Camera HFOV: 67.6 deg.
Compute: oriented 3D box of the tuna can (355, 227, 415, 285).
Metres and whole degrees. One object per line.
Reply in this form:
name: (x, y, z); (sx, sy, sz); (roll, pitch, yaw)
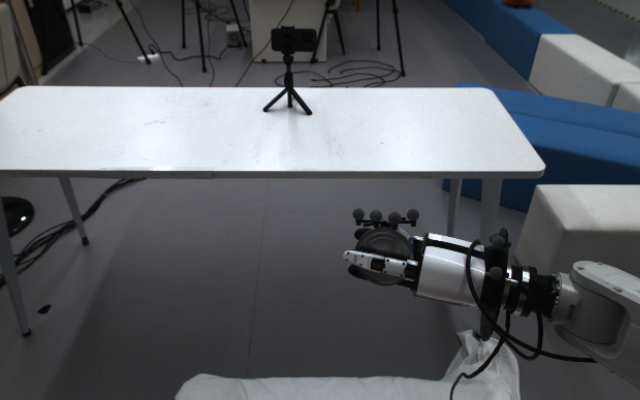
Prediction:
tuna can: (0.097, 0.078, 0.704); (0.085, 0.085, 0.034); (15, 10, 18)
